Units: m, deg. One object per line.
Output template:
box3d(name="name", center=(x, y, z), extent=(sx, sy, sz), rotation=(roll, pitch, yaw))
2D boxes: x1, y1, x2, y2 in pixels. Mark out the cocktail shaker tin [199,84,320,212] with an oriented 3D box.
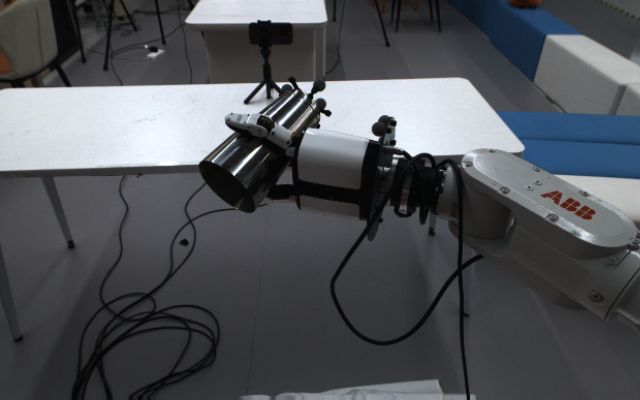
box3d(name="cocktail shaker tin", center=(-0.074, -0.081, 0.656), extent=(0.093, 0.093, 0.170), rotation=(23, 57, 27))
